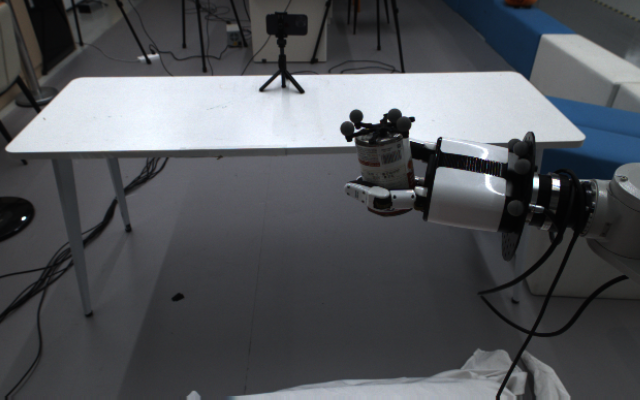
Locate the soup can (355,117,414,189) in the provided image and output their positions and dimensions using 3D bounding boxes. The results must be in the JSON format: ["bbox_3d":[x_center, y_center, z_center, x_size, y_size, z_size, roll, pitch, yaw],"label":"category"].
[{"bbox_3d":[0.087,-0.039,0.612,0.067,0.101,0.067,-11,27,6],"label":"soup can"}]
